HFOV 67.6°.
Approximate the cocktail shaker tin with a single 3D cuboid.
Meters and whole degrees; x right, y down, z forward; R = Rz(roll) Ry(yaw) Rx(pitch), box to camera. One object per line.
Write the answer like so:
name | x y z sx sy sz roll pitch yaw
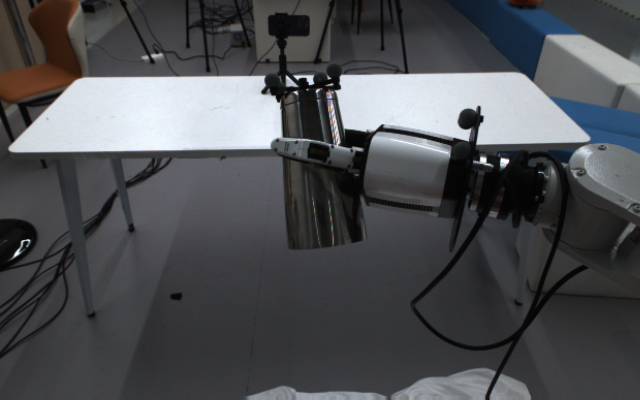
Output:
cocktail shaker tin | -0.002 -0.035 0.554 0.093 0.170 0.093 -8 1 0
